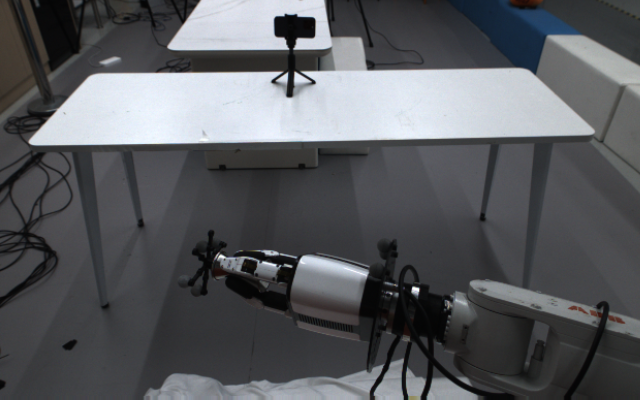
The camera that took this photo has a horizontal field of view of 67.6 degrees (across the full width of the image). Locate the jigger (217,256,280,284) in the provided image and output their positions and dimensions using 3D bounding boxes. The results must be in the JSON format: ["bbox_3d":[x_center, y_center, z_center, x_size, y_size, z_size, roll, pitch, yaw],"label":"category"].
[{"bbox_3d":[-0.095,0.087,0.626,0.071,0.043,0.043,10,35,16],"label":"jigger"}]
